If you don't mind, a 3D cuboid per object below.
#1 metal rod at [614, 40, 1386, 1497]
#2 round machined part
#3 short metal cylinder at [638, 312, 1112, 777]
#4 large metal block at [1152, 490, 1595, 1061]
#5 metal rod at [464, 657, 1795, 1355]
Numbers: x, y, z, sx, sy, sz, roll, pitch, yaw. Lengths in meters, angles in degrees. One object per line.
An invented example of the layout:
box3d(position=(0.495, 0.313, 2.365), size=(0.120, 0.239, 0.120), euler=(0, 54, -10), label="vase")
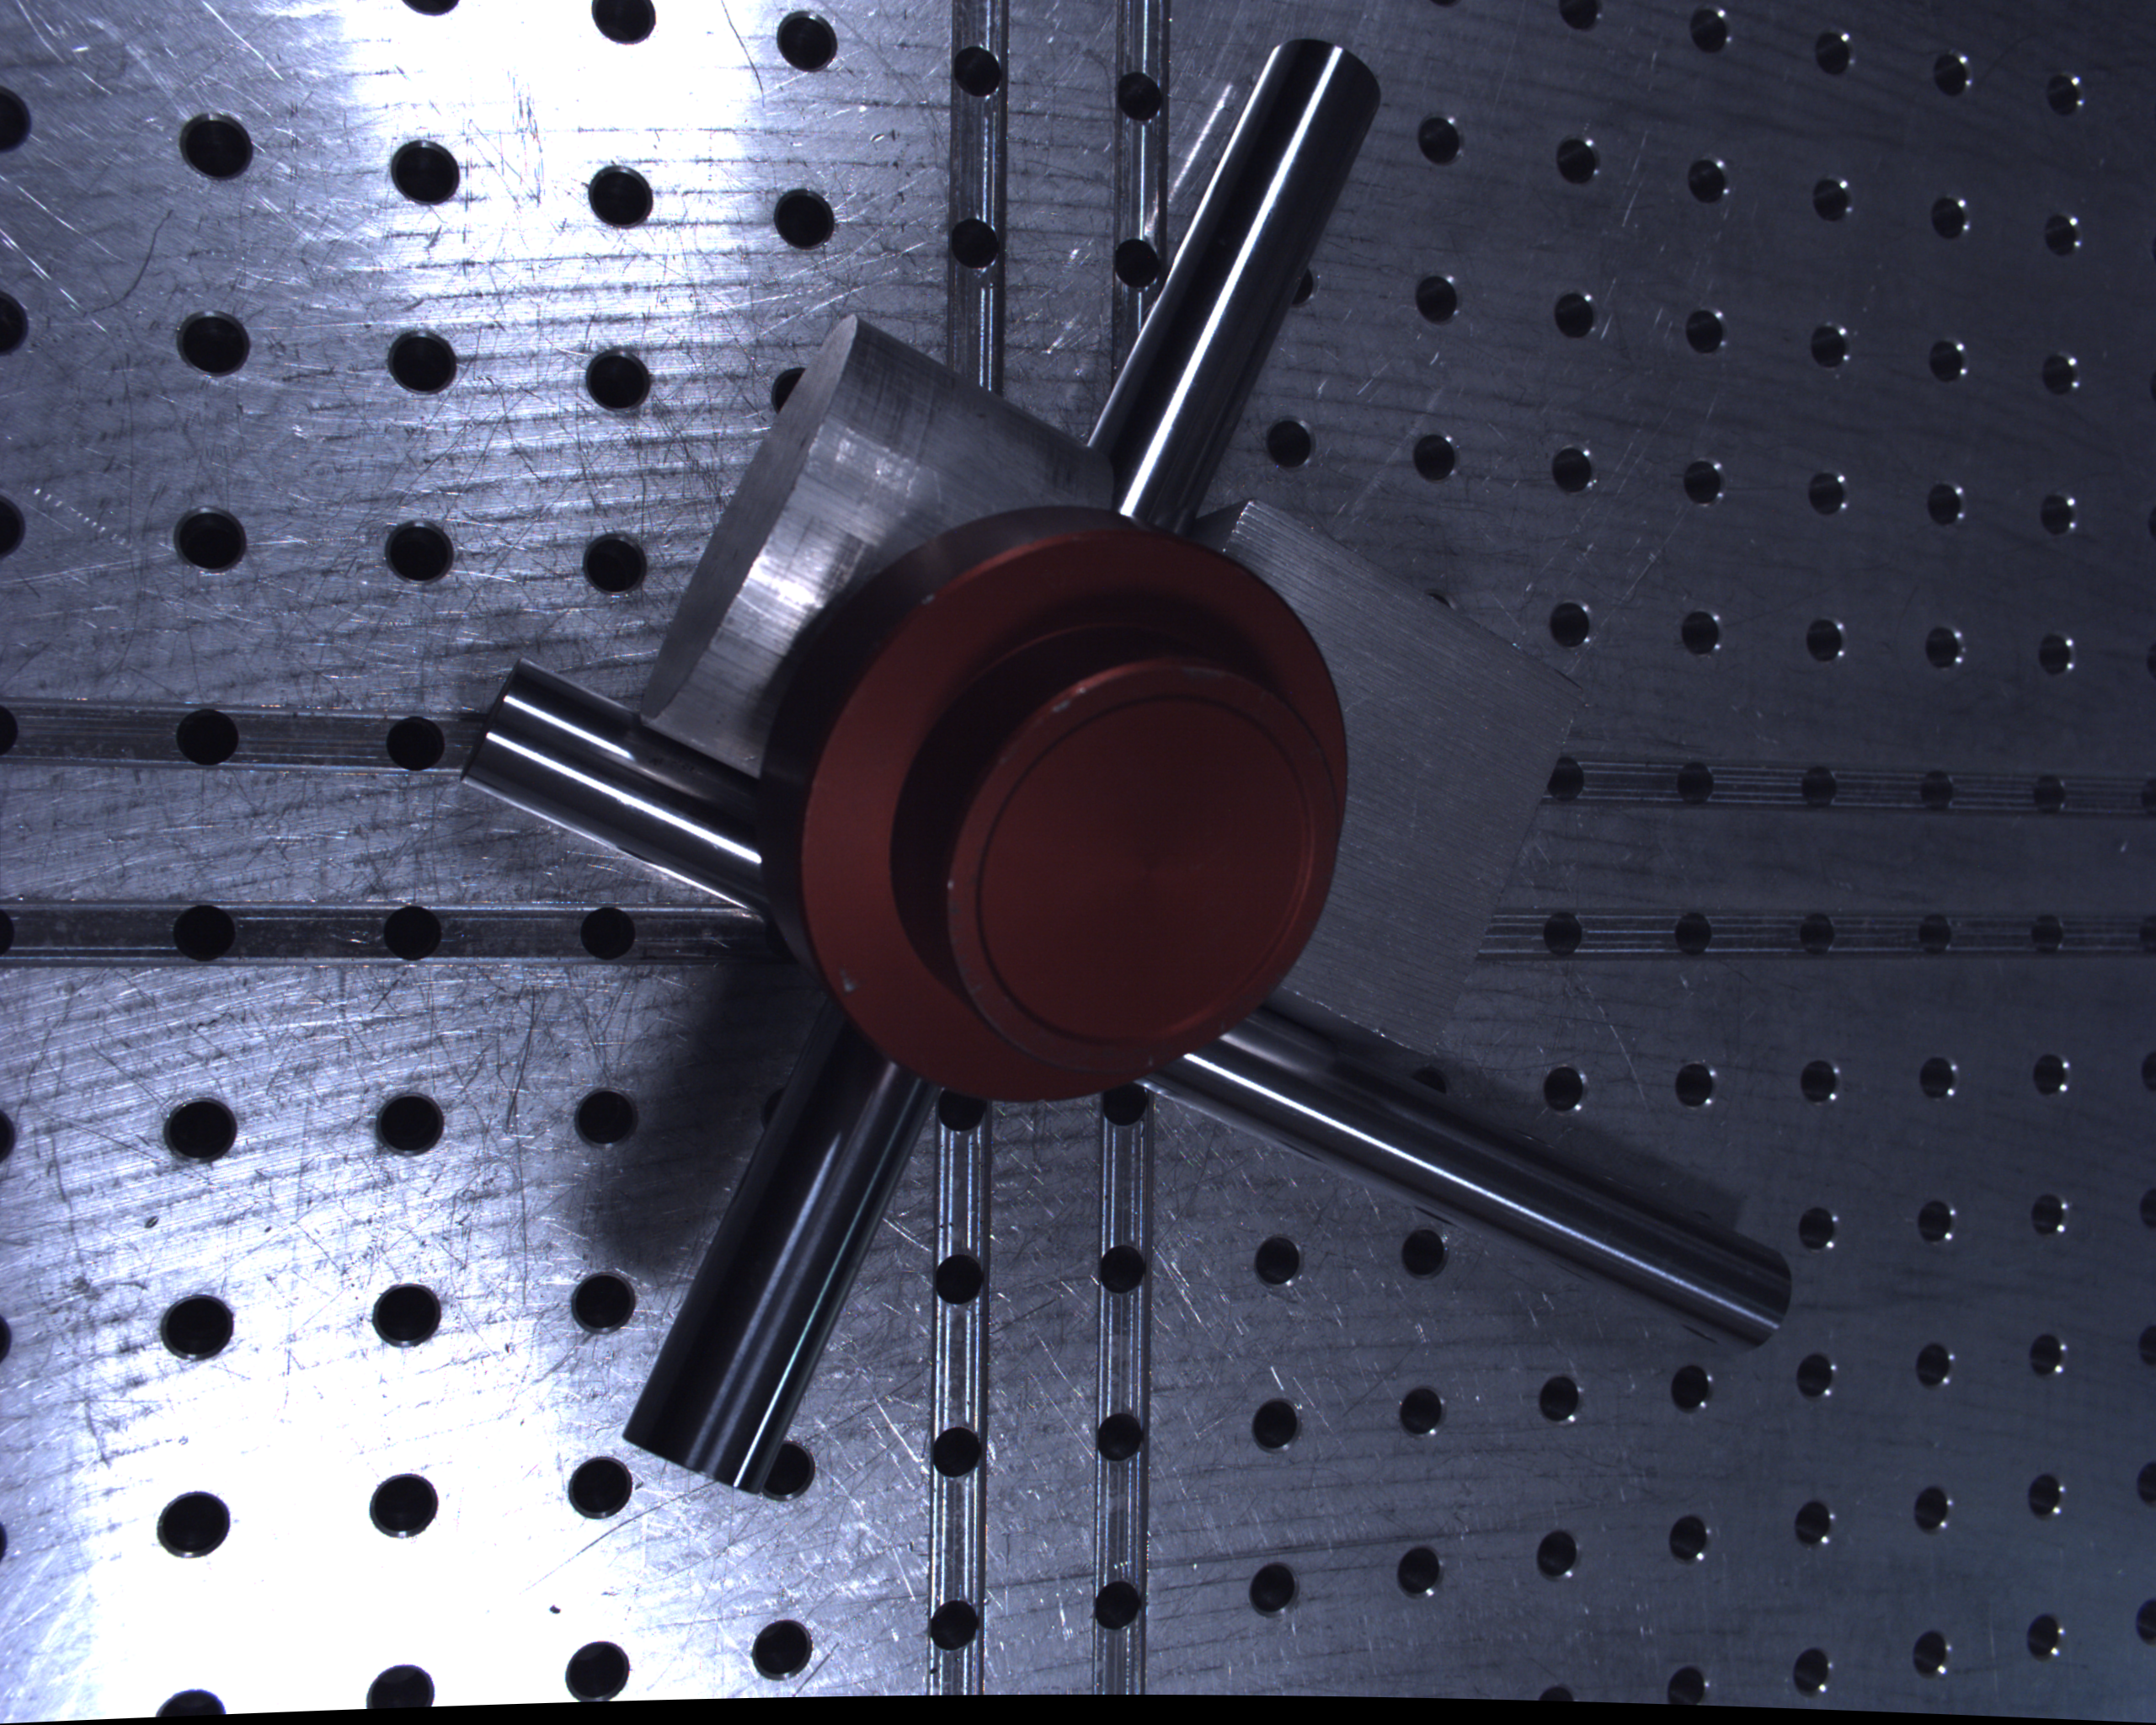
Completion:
box3d(position=(-0.007, -0.030, 0.390), size=(0.025, 0.025, 0.300), euler=(30, 73, -18), label="metal rod")
box3d(position=(0.002, -0.005, 0.335), size=(0.099, 0.042, 0.097), euler=(-10, 114, -24), label="round machined part")
box3d(position=(-0.037, -0.049, 0.370), size=(0.050, 0.080, 0.080), euler=(26, 81, -19), label="short metal cylinder")
box3d(position=(0.042, -0.016, 0.412), size=(0.080, 0.050, 0.080), euler=(27, 81, -18), label="large metal block")
box3d(position=(0.024, 0.037, 0.422), size=(0.302, 0.025, 0.025), euler=(26, 81, -19), label="metal rod")
